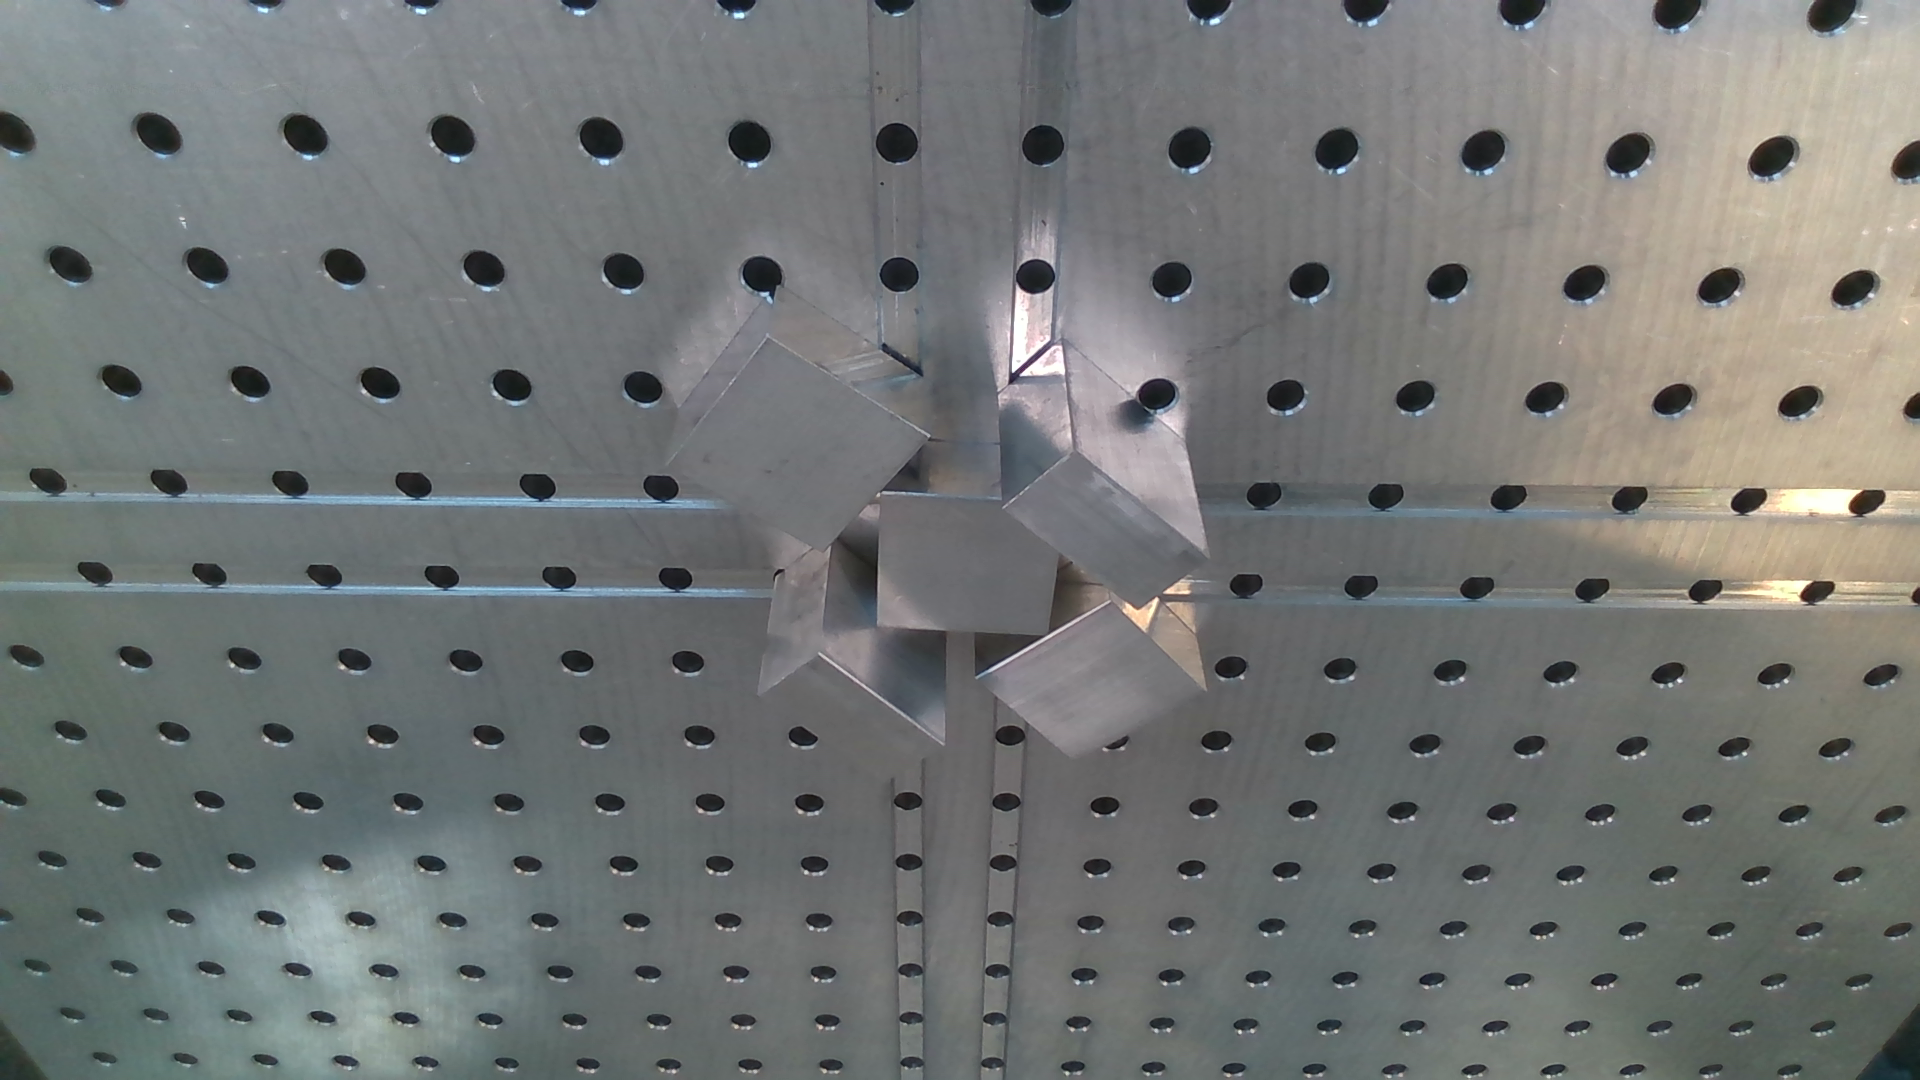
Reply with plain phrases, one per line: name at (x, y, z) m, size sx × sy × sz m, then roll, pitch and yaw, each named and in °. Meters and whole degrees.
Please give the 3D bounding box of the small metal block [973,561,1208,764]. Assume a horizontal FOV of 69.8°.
small metal block at (0.039, 0.035, 0.421) m, size 0.050 × 0.025 × 0.050 m, roll -33°, pitch 122°, yaw 24°

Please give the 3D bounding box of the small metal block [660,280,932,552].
small metal block at (-0.043, -0.032, 0.364) m, size 0.050 × 0.025 × 0.050 m, roll 30°, pitch 124°, yaw -24°

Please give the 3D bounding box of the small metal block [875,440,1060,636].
small metal block at (0.002, 0.000, 0.390) m, size 0.050 × 0.025 × 0.050 m, roll 2°, pitch 129°, yaw -3°

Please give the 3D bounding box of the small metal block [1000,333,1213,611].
small metal block at (0.037, -0.018, 0.359) m, size 0.050 × 0.050 × 0.025 m, roll 37°, pitch 122°, yaw -26°

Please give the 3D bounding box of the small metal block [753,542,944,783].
small metal block at (-0.031, 0.034, 0.403) m, size 0.025 × 0.050 × 0.050 m, roll -35°, pitch 122°, yaw 25°
